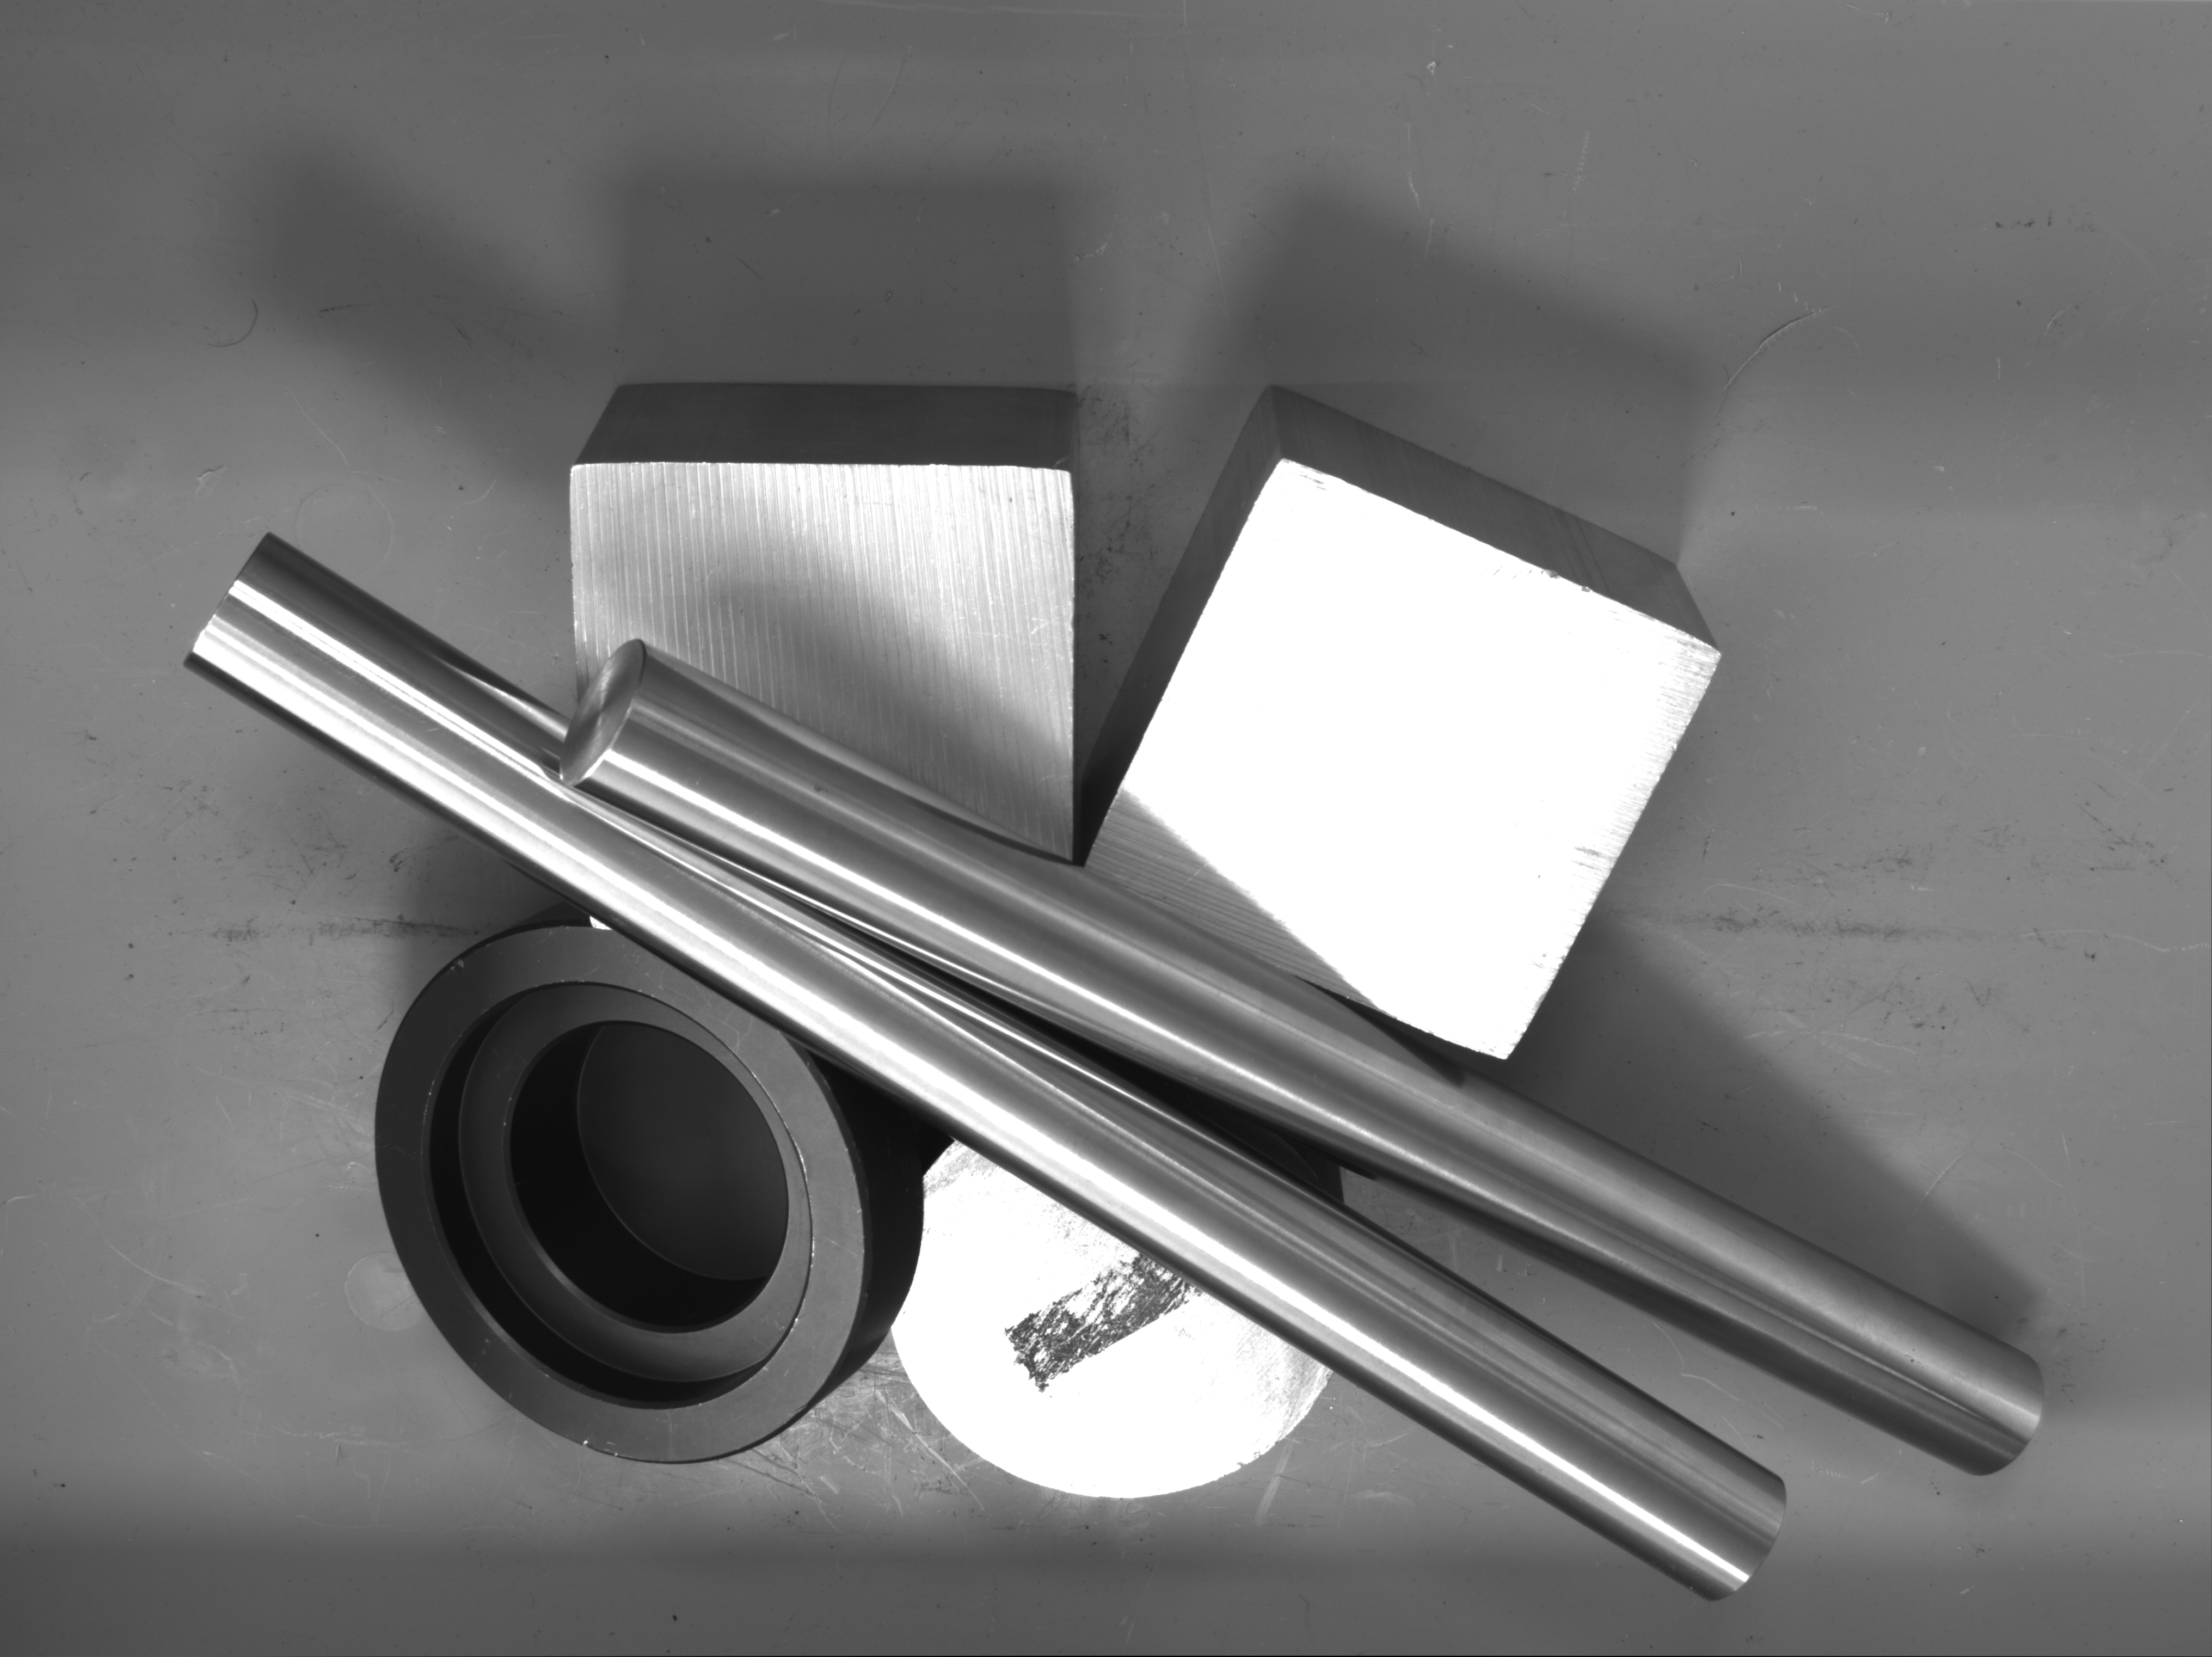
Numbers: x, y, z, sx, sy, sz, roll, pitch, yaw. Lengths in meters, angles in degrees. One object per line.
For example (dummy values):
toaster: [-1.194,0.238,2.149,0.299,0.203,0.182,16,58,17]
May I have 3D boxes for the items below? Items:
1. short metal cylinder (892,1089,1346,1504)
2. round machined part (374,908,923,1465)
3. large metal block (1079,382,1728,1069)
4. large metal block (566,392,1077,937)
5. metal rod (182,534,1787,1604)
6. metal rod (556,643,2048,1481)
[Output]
short metal cylinder: [0.003,0.073,0.655,0.080,0.050,0.080,0,110,0]
round machined part: [-0.075,0.058,0.643,0.098,0.042,0.098,7,108,23]
large metal block: [0.048,-0.018,0.622,0.080,0.050,0.080,23,108,-8]
large metal block: [-0.045,-0.028,0.616,0.080,0.050,0.080,1,110,0]
metal rod: [-0.014,0.044,0.604,0.300,0.025,0.025,33,107,-12]
metal rod: [0.044,0.046,0.620,0.301,0.025,0.025,28,108,-25]
